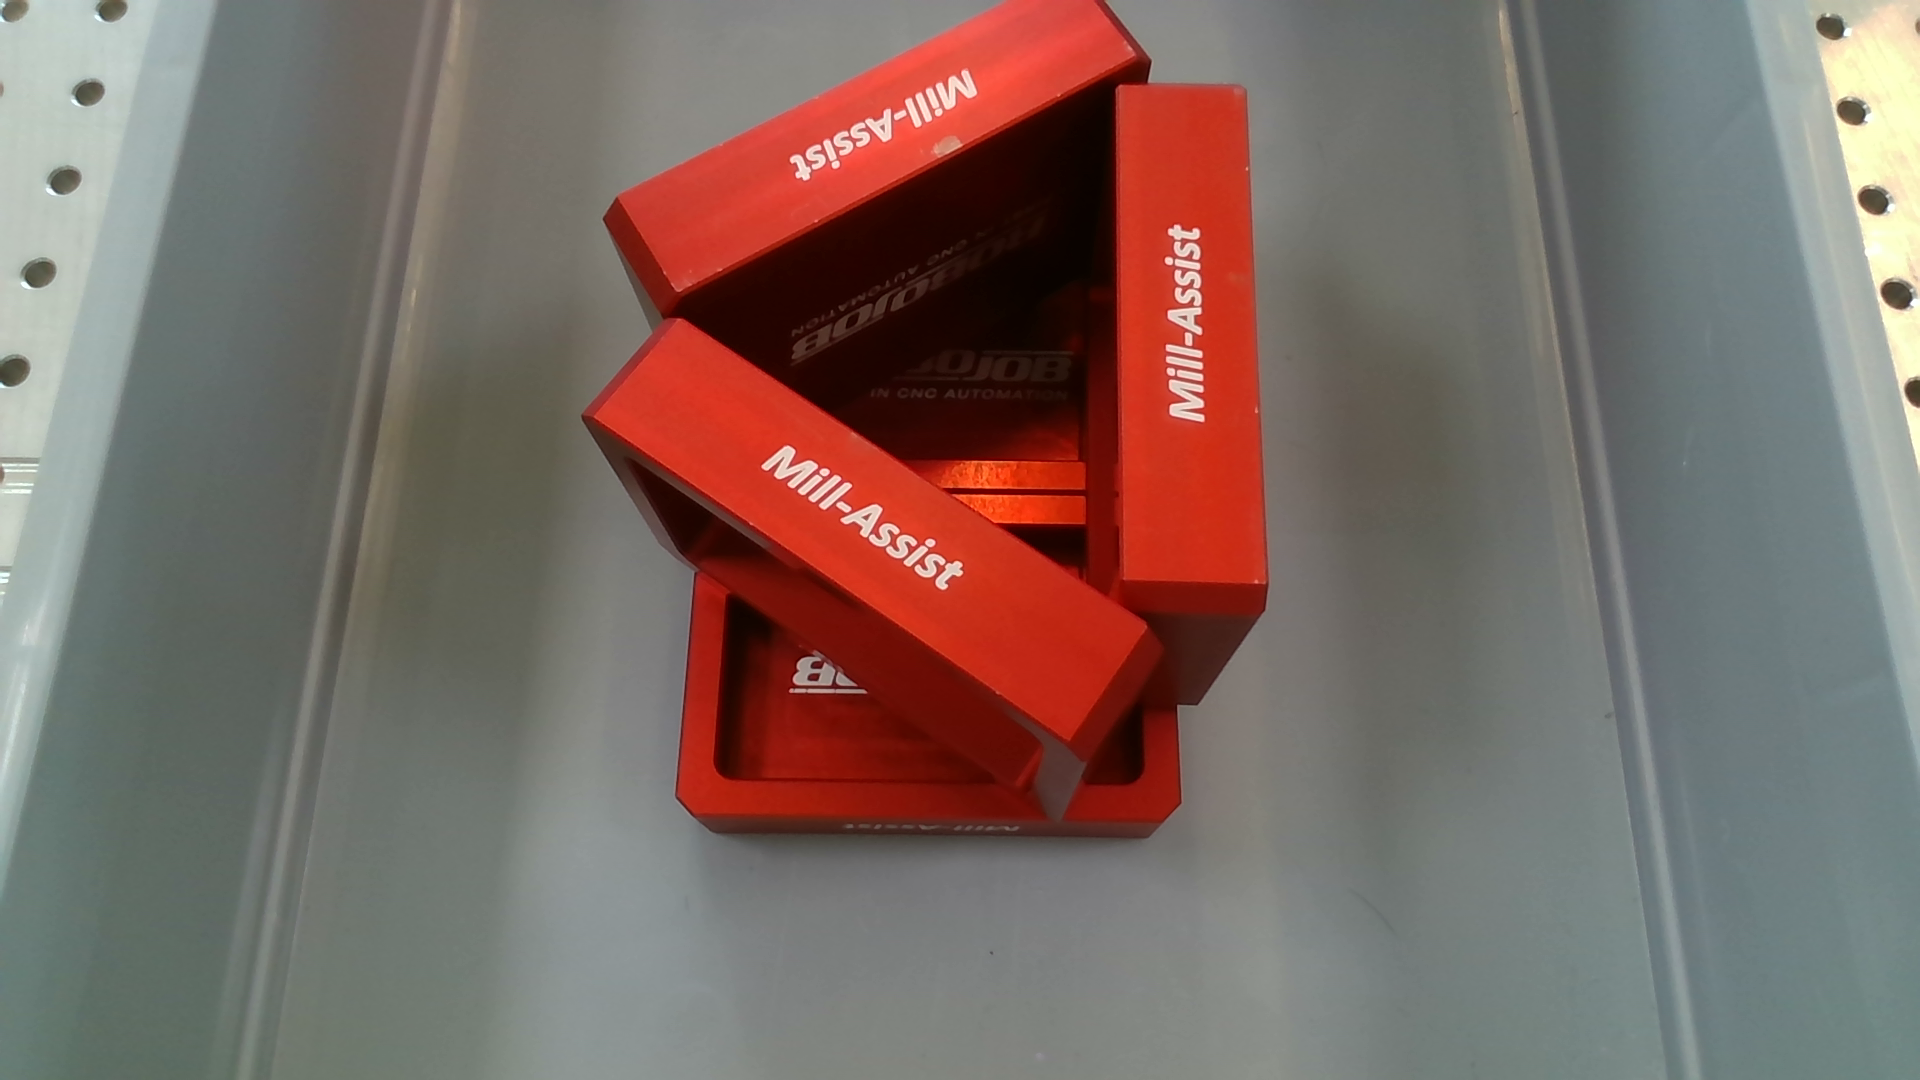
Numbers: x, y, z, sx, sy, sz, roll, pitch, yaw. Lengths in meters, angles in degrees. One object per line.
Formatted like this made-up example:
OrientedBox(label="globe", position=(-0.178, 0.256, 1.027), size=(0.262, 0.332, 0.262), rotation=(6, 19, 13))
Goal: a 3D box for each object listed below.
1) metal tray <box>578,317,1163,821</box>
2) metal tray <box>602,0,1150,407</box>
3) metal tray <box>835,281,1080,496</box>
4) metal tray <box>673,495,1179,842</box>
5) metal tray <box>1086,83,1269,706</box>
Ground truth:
OrientedBox(label="metal tray", position=(-0.020, 0.010, 0.323), size=(0.130, 0.090, 0.030), rotation=(33, 73, 12))
OrientedBox(label="metal tray", position=(-0.018, -0.079, 0.356), size=(0.130, 0.090, 0.030), rotation=(-30, 72, -10))
OrientedBox(label="metal tray", position=(-0.006, -0.051, 0.411), size=(0.130, 0.030, 0.090), rotation=(1, 70, -1))
OrientedBox(label="metal tray", position=(-0.008, 0.034, 0.380), size=(0.130, 0.030, 0.090), rotation=(1, 70, 0))
OrientedBox(label="metal tray", position=(0.049, -0.032, 0.338), size=(0.030, 0.090, 0.130), rotation=(2, 70, 1))
